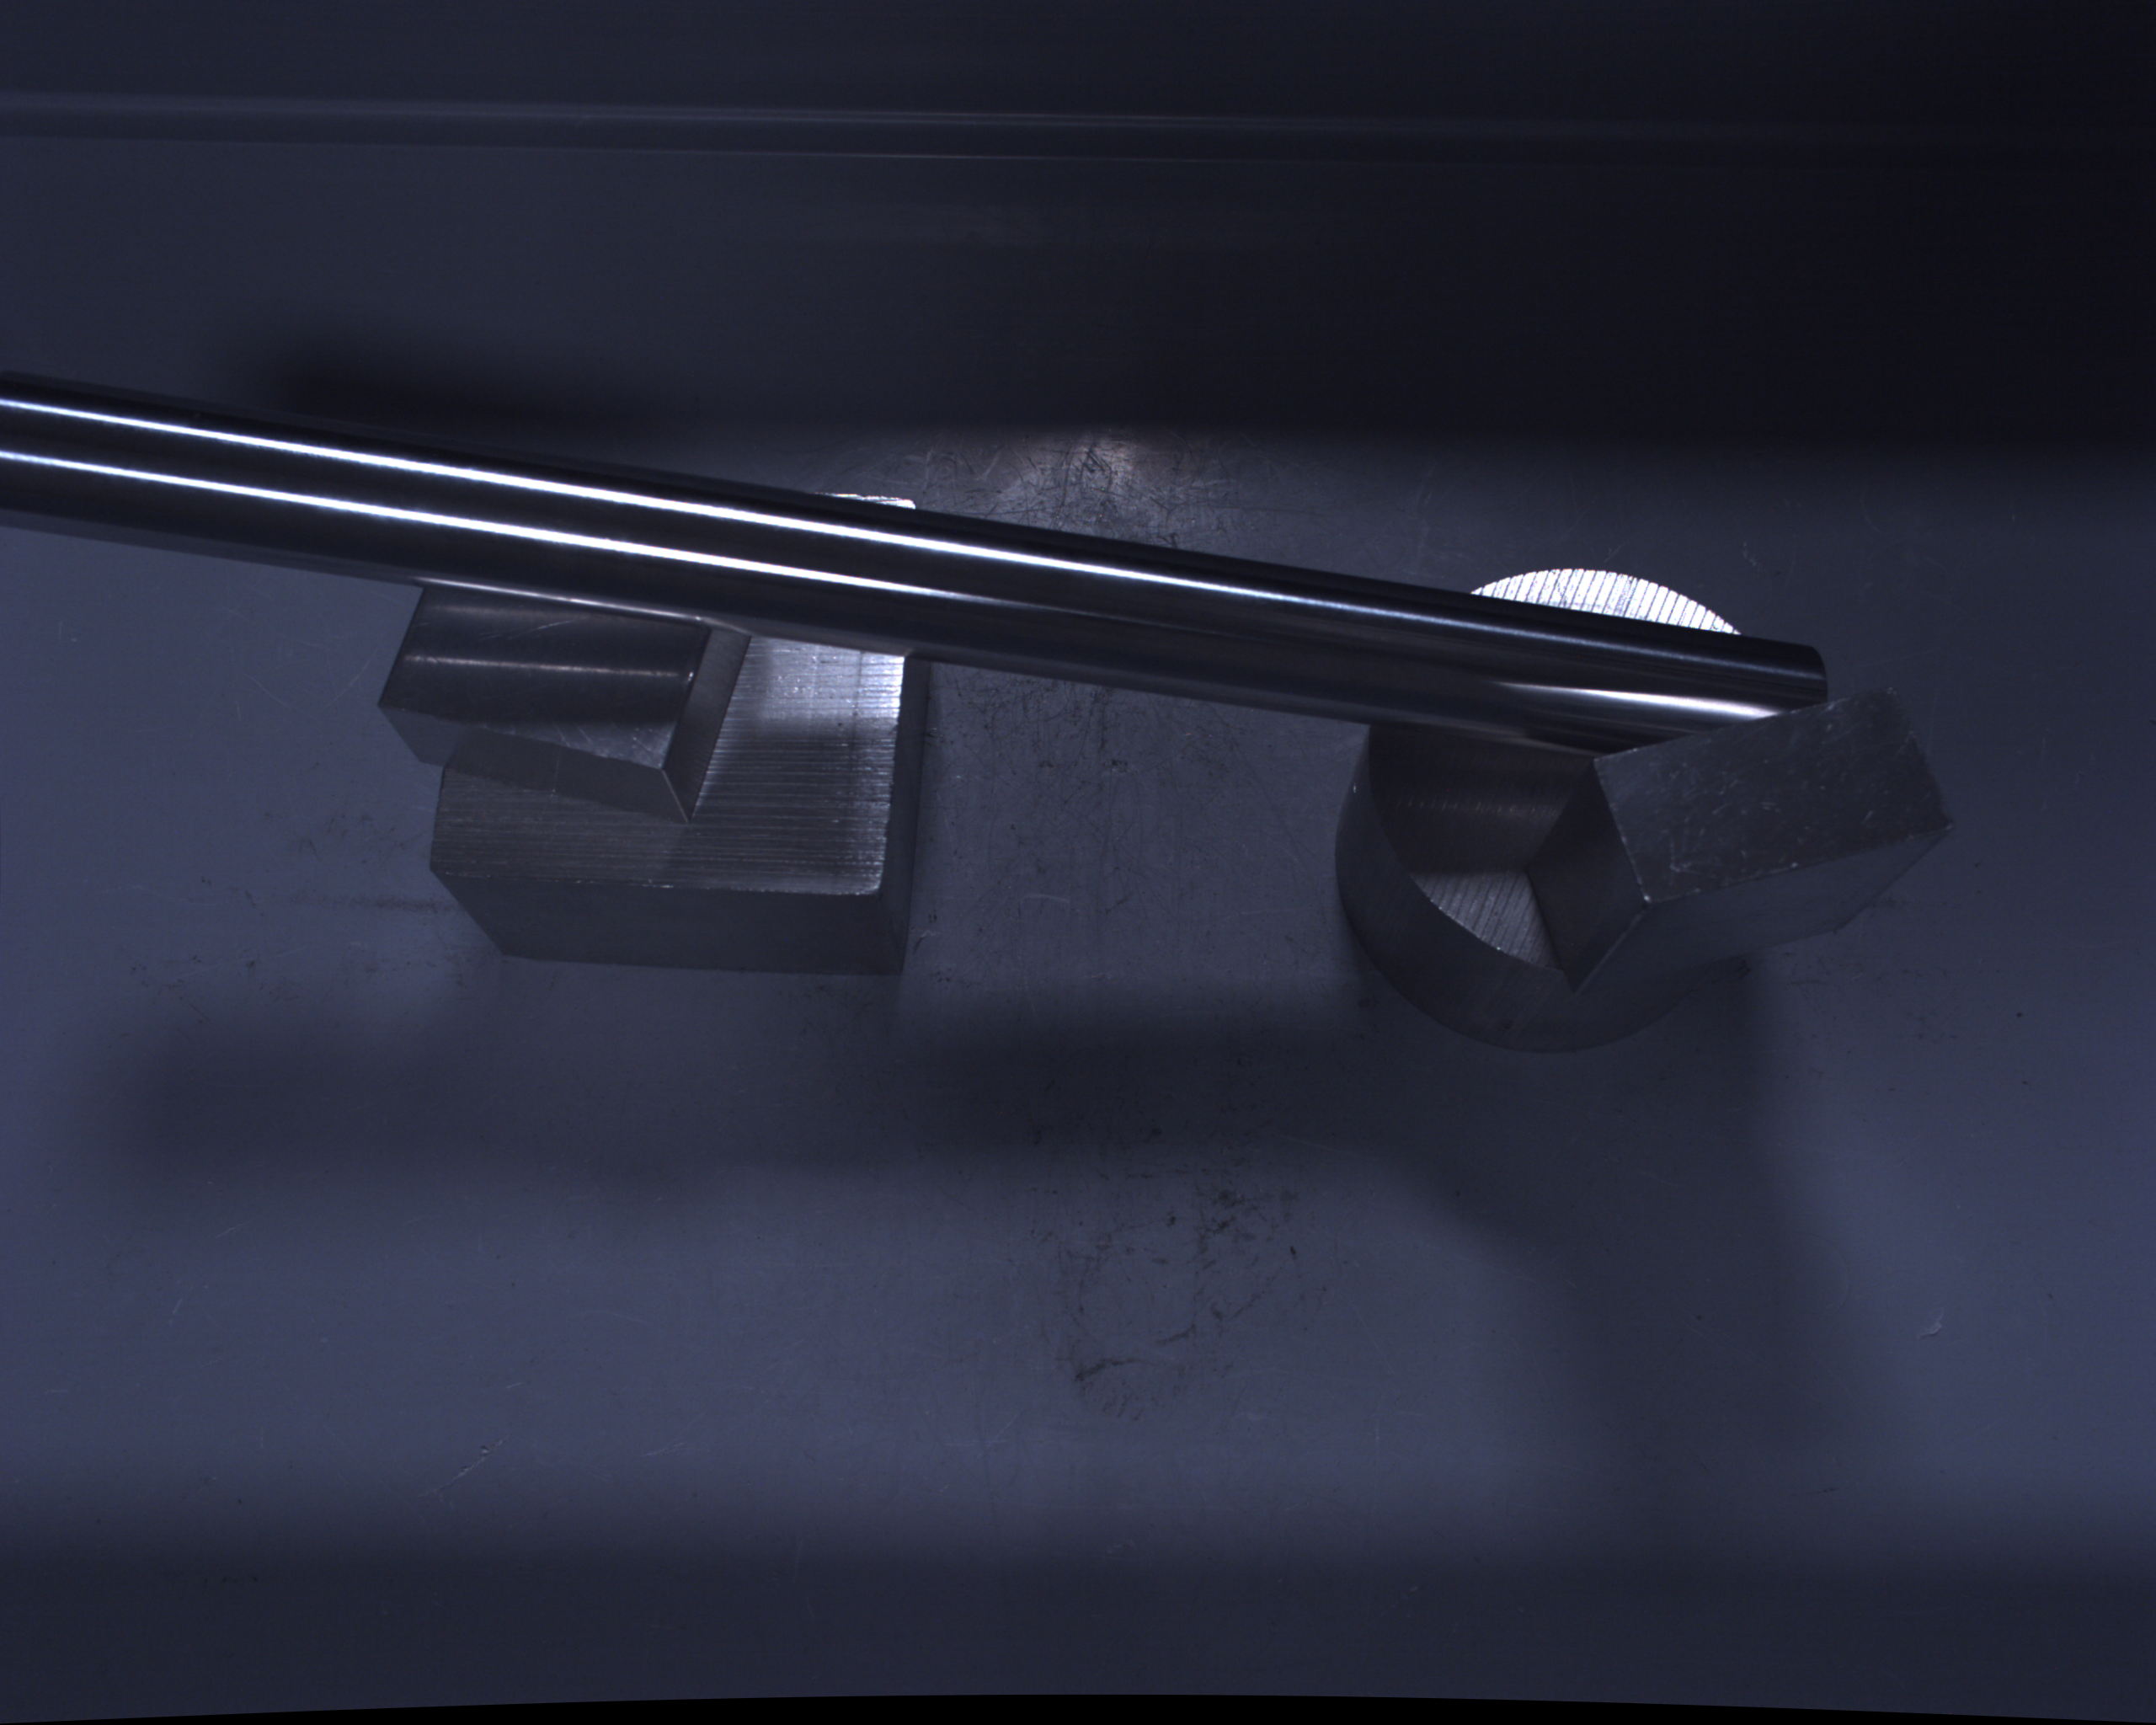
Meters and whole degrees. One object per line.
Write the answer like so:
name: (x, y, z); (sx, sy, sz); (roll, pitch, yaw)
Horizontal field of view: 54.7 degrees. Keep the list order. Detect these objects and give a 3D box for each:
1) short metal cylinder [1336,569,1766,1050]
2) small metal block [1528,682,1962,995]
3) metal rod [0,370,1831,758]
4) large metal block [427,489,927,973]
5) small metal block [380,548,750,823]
short metal cylinder: (0.093, -0.009, 0.399); (0.081, 0.050, 0.080); (0, 70, 0)
small metal block: (0.107, -0.003, 0.343); (0.050, 0.050, 0.025); (-14, 71, -5)
metal rod: (-0.023, -0.046, 0.350); (0.302, 0.025, 0.025); (8, 70, -6)
large metal block: (-0.072, -0.026, 0.402); (0.081, 0.050, 0.080); (3, 70, 0)
small metal block: (-0.087, -0.039, 0.368); (0.050, 0.025, 0.050); (12, 70, 4)
